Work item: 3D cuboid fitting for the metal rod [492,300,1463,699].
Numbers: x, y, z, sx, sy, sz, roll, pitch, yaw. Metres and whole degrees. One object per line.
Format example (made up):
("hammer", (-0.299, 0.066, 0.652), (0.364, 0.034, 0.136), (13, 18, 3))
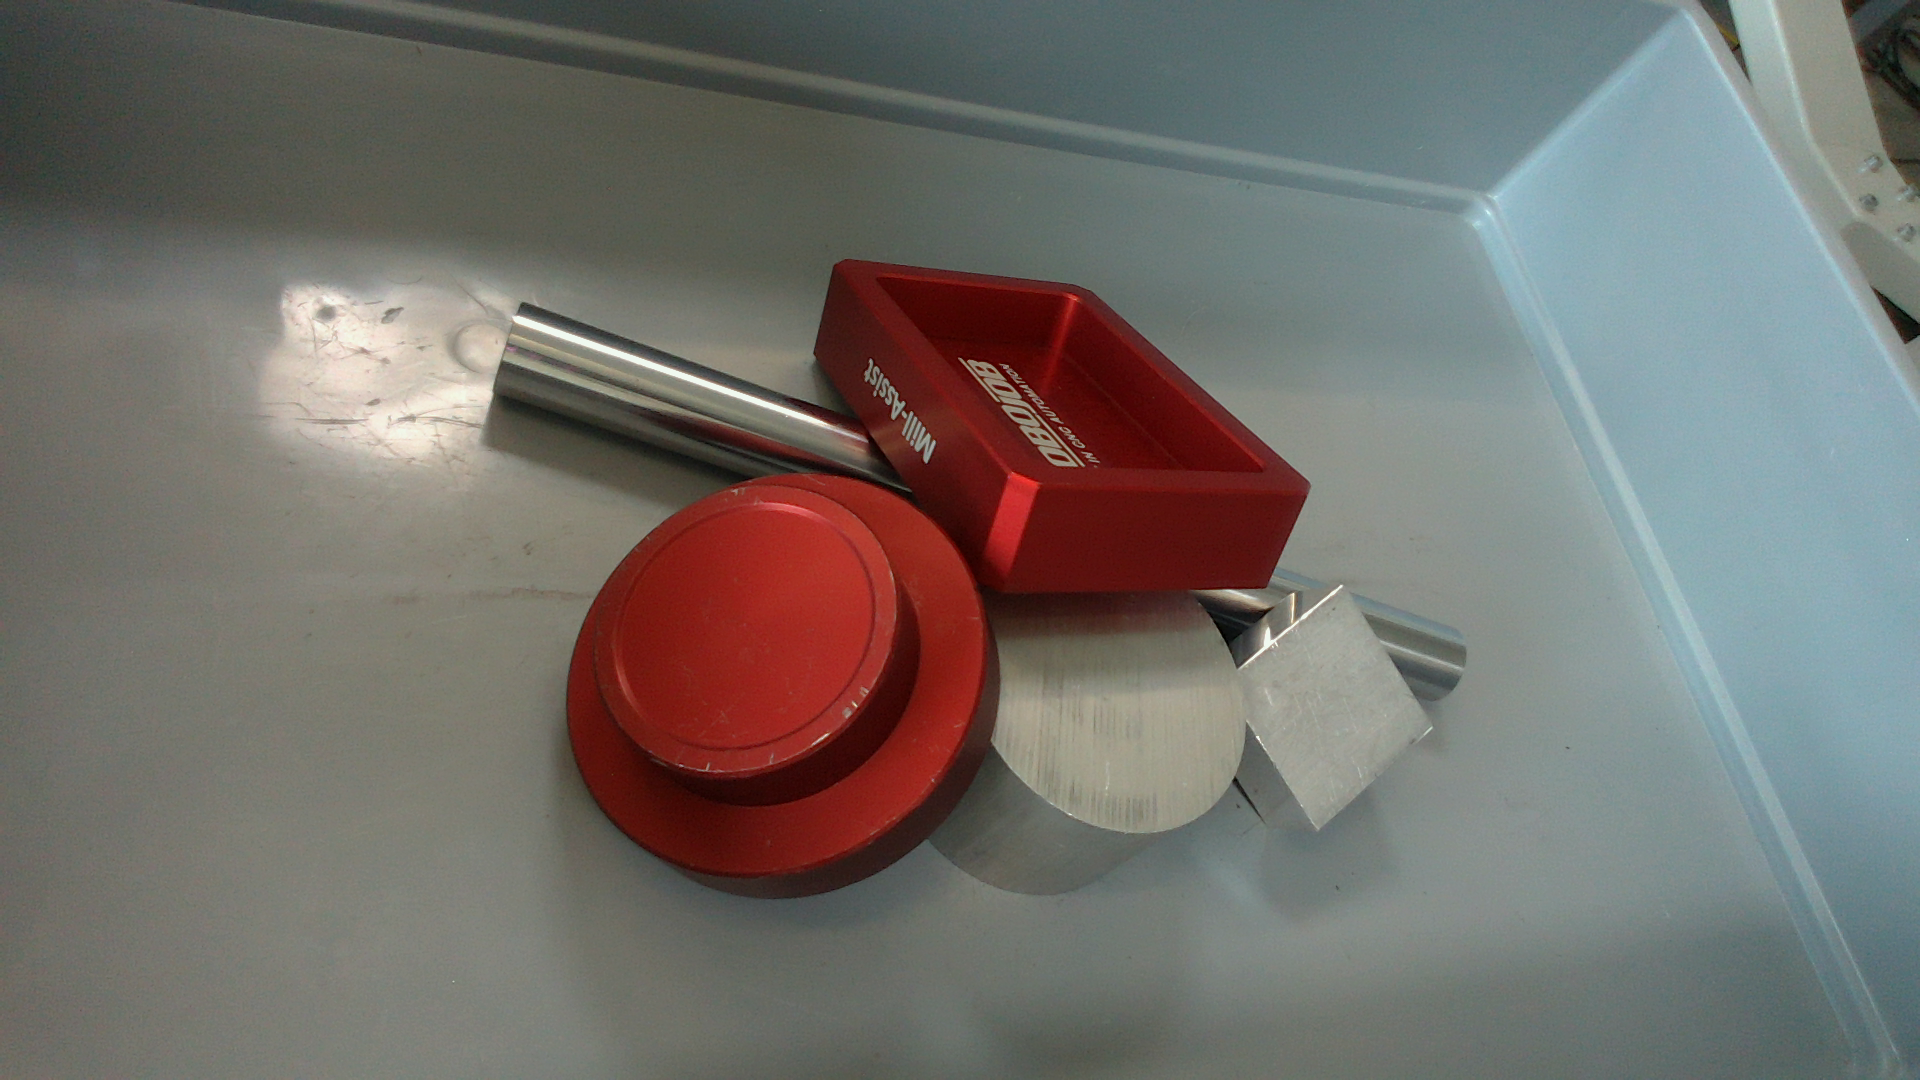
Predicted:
("metal rod", (0.019, -0.005, 0.401), (0.301, 0.025, 0.025), (18, 54, -18))

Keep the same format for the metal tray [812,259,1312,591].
("metal tray", (0.023, -0.035, 0.381), (0.090, 0.030, 0.130), (0, 33, -29))

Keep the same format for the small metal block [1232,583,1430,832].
("small metal block", (0.099, 0.048, 0.398), (0.050, 0.025, 0.050), (-35, 97, -22))

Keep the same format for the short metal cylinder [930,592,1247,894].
("short metal cylinder", (0.027, 0.046, 0.358), (0.080, 0.050, 0.080), (14, 56, -21))

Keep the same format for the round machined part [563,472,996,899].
("round machined part", (-0.042, 0.027, 0.308), (0.098, 0.042, 0.098), (-4, 62, 7))
